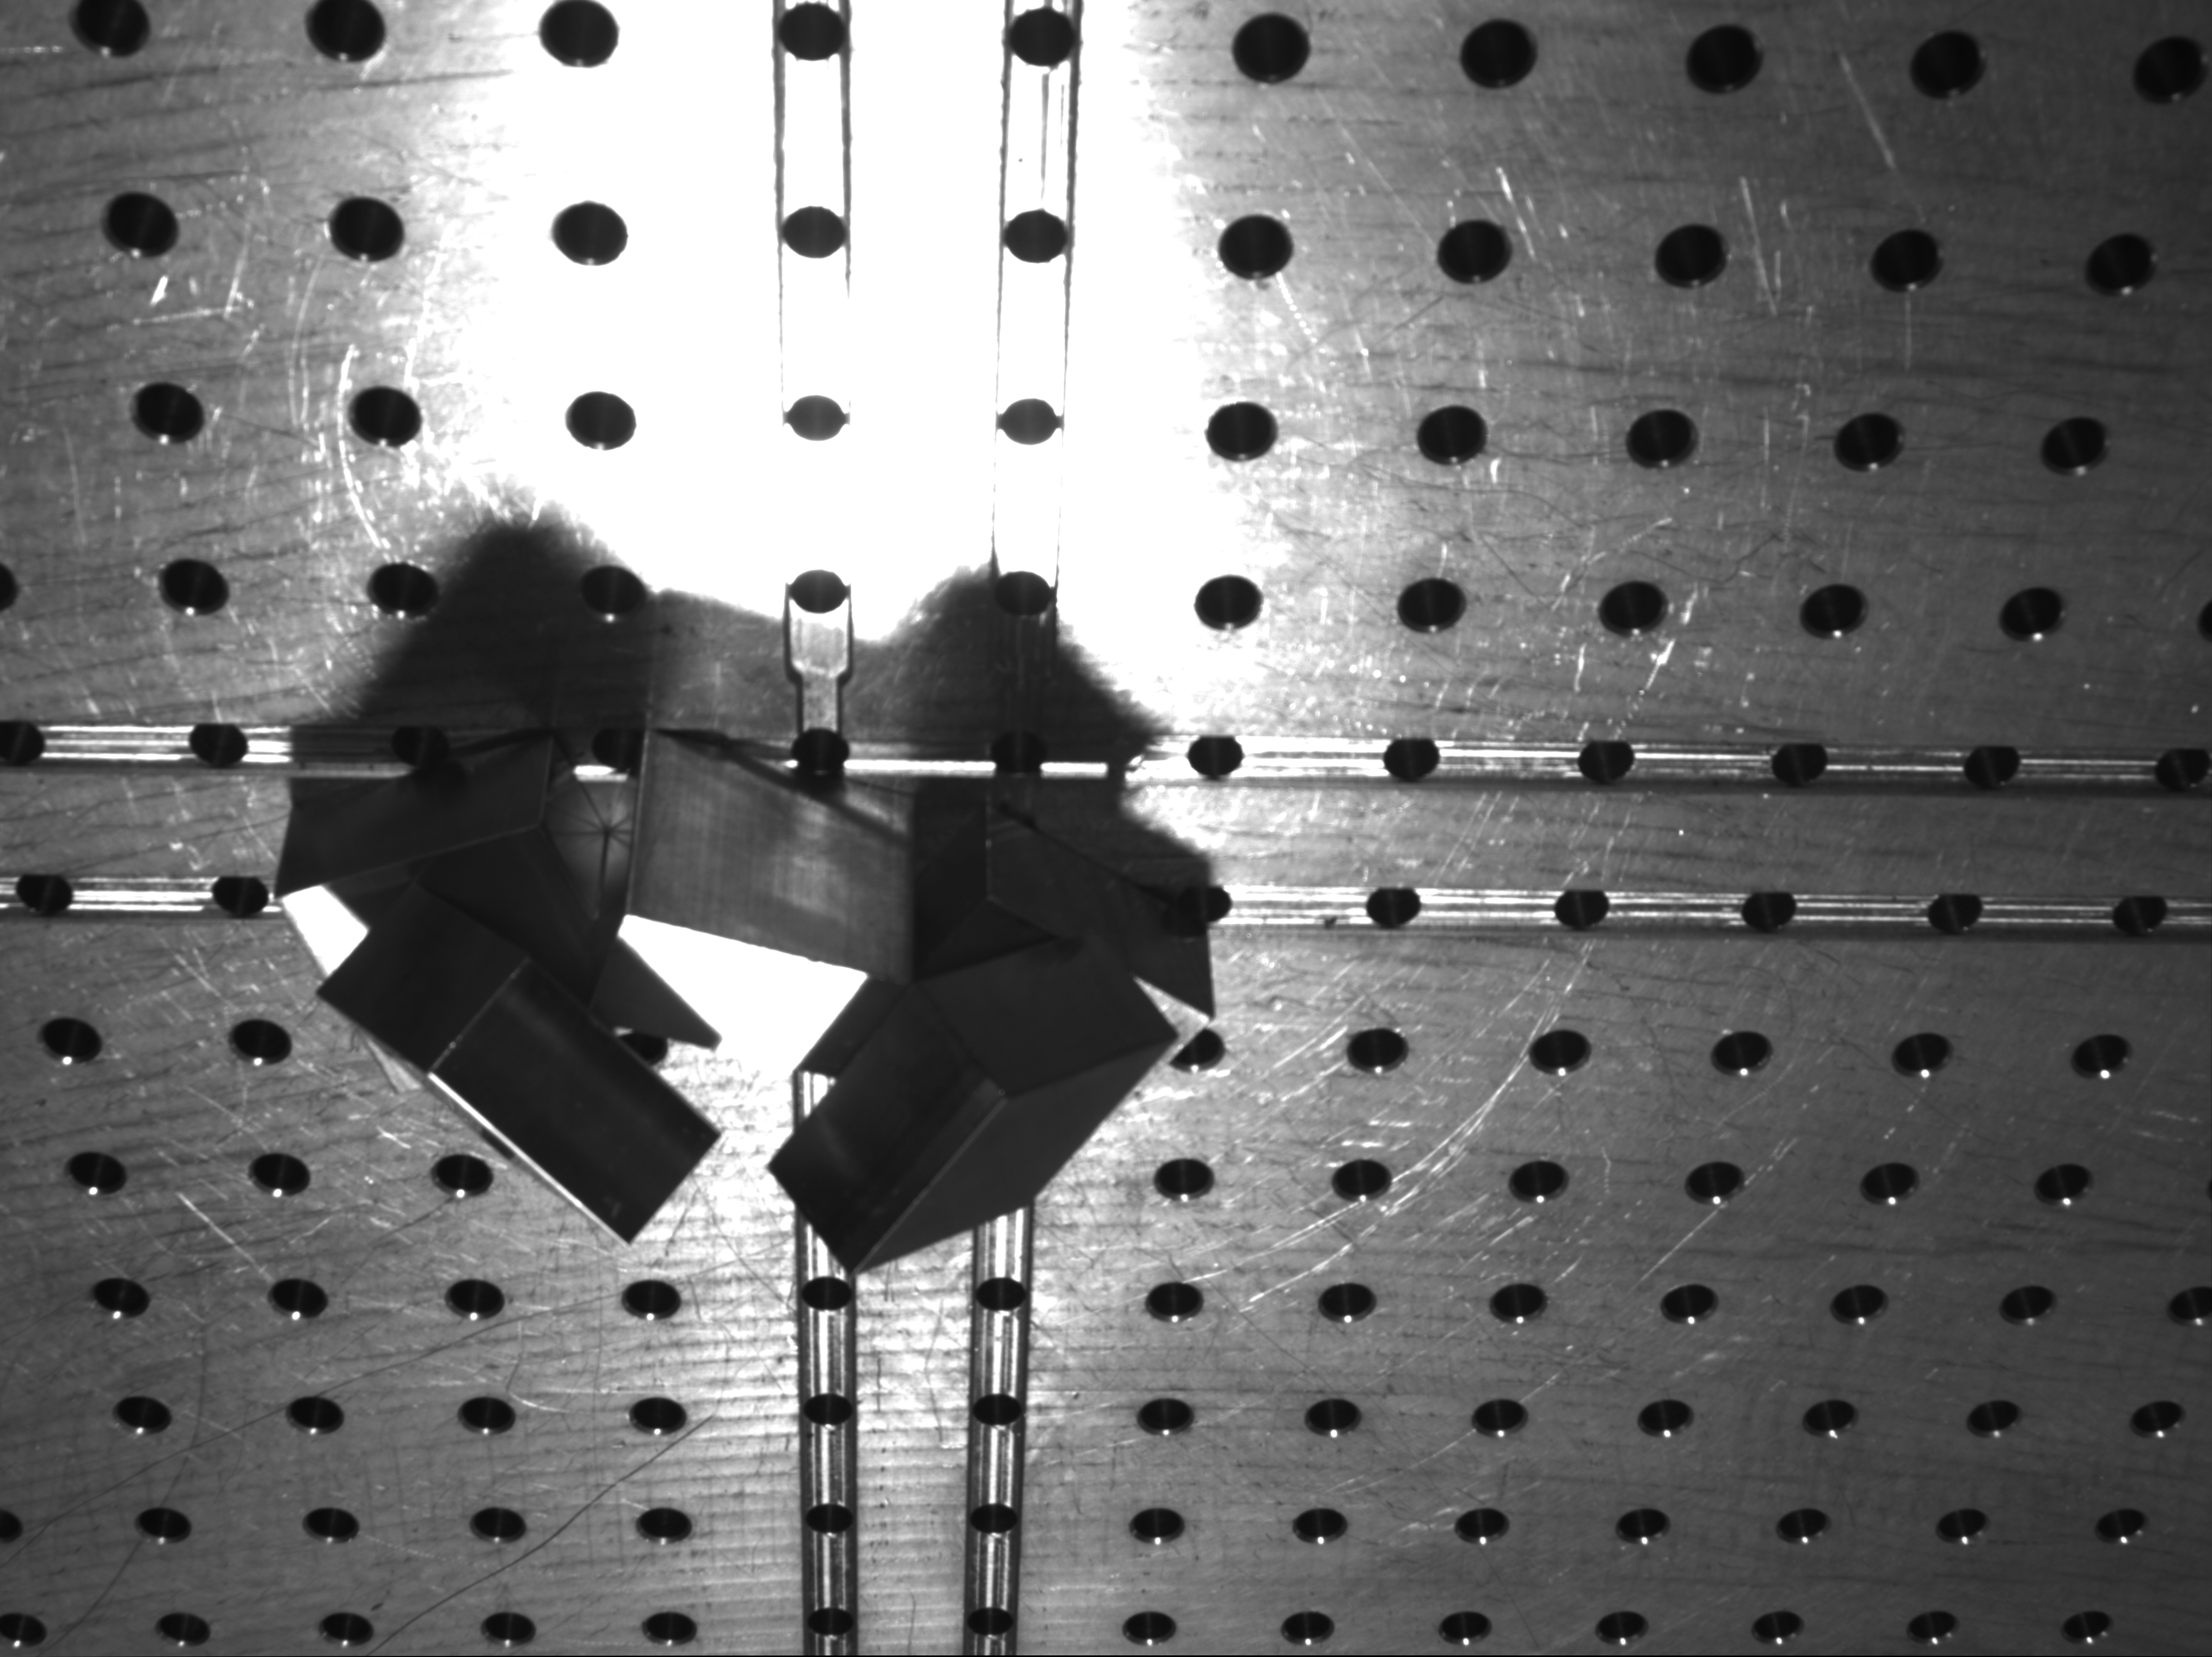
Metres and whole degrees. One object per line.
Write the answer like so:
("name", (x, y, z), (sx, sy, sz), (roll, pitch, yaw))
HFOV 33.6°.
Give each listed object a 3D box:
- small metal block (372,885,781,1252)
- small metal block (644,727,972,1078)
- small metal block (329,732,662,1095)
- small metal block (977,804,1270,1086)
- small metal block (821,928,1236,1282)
("small metal block", (-0.090, 0.040, 0.620), (0.025, 0.050, 0.050), (-50, 123, -11))
("small metal block", (-0.051, 0.014, 0.635), (0.050, 0.050, 0.025), (15, 128, -14))
("small metal block", (-0.103, 0.016, 0.651), (0.050, 0.025, 0.050), (-15, 129, 11))
("small metal block", (-0.006, 0.030, 0.667), (0.050, 0.025, 0.050), (29, 123, -24))
("small metal block", (-0.013, 0.047, 0.630), (0.050, 0.025, 0.050), (-15, 150, -53))
